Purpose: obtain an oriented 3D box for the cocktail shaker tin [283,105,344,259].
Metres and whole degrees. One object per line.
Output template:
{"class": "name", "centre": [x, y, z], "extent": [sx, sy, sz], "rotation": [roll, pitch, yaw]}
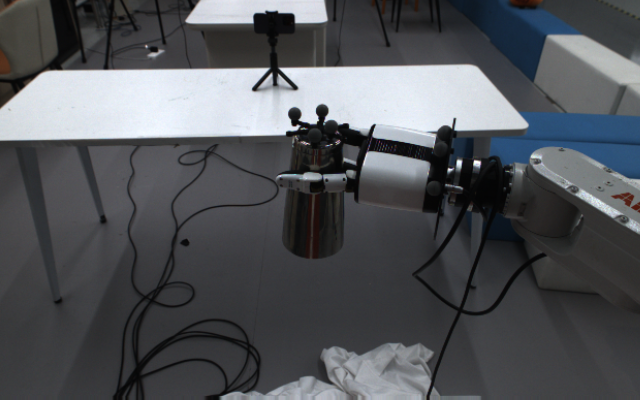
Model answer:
{"class": "cocktail shaker tin", "centre": [-0.004, -0.016, 0.679], "extent": [0.093, 0.170, 0.093], "rotation": [3, 33, -2]}
